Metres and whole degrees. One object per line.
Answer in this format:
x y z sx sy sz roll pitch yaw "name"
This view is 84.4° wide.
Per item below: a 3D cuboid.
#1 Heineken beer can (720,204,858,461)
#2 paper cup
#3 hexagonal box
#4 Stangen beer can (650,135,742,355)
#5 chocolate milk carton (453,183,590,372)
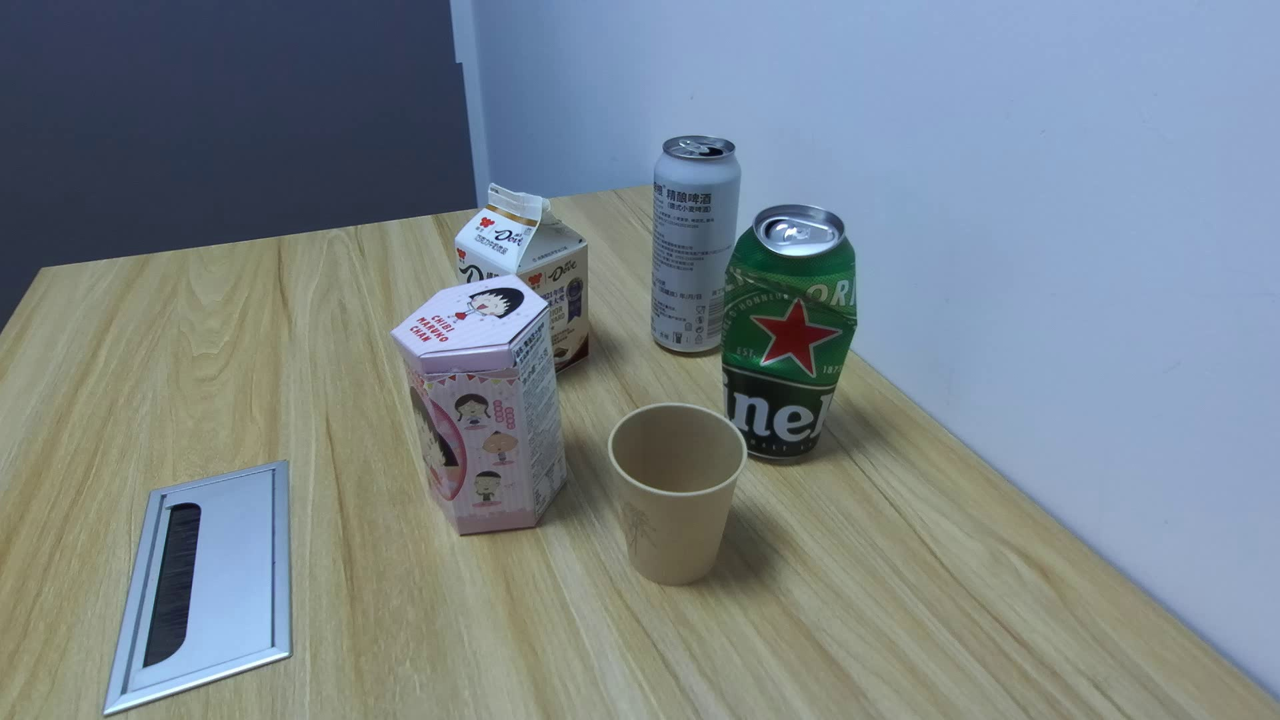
0.094 -0.011 0.457 0.069 0.168 0.068 -15 39 -19 "Heineken beer can"
0.020 0.080 0.400 0.075 0.082 0.075 1 34 0 "paper cup"
-0.091 0.028 0.428 0.085 0.135 0.091 -22 40 -29 "hexagonal box"
0.044 -0.088 0.567 0.067 0.171 0.067 0 32 0 "Stangen beer can"
-0.089 -0.064 0.549 0.075 0.148 0.074 31 45 34 "chocolate milk carton"
